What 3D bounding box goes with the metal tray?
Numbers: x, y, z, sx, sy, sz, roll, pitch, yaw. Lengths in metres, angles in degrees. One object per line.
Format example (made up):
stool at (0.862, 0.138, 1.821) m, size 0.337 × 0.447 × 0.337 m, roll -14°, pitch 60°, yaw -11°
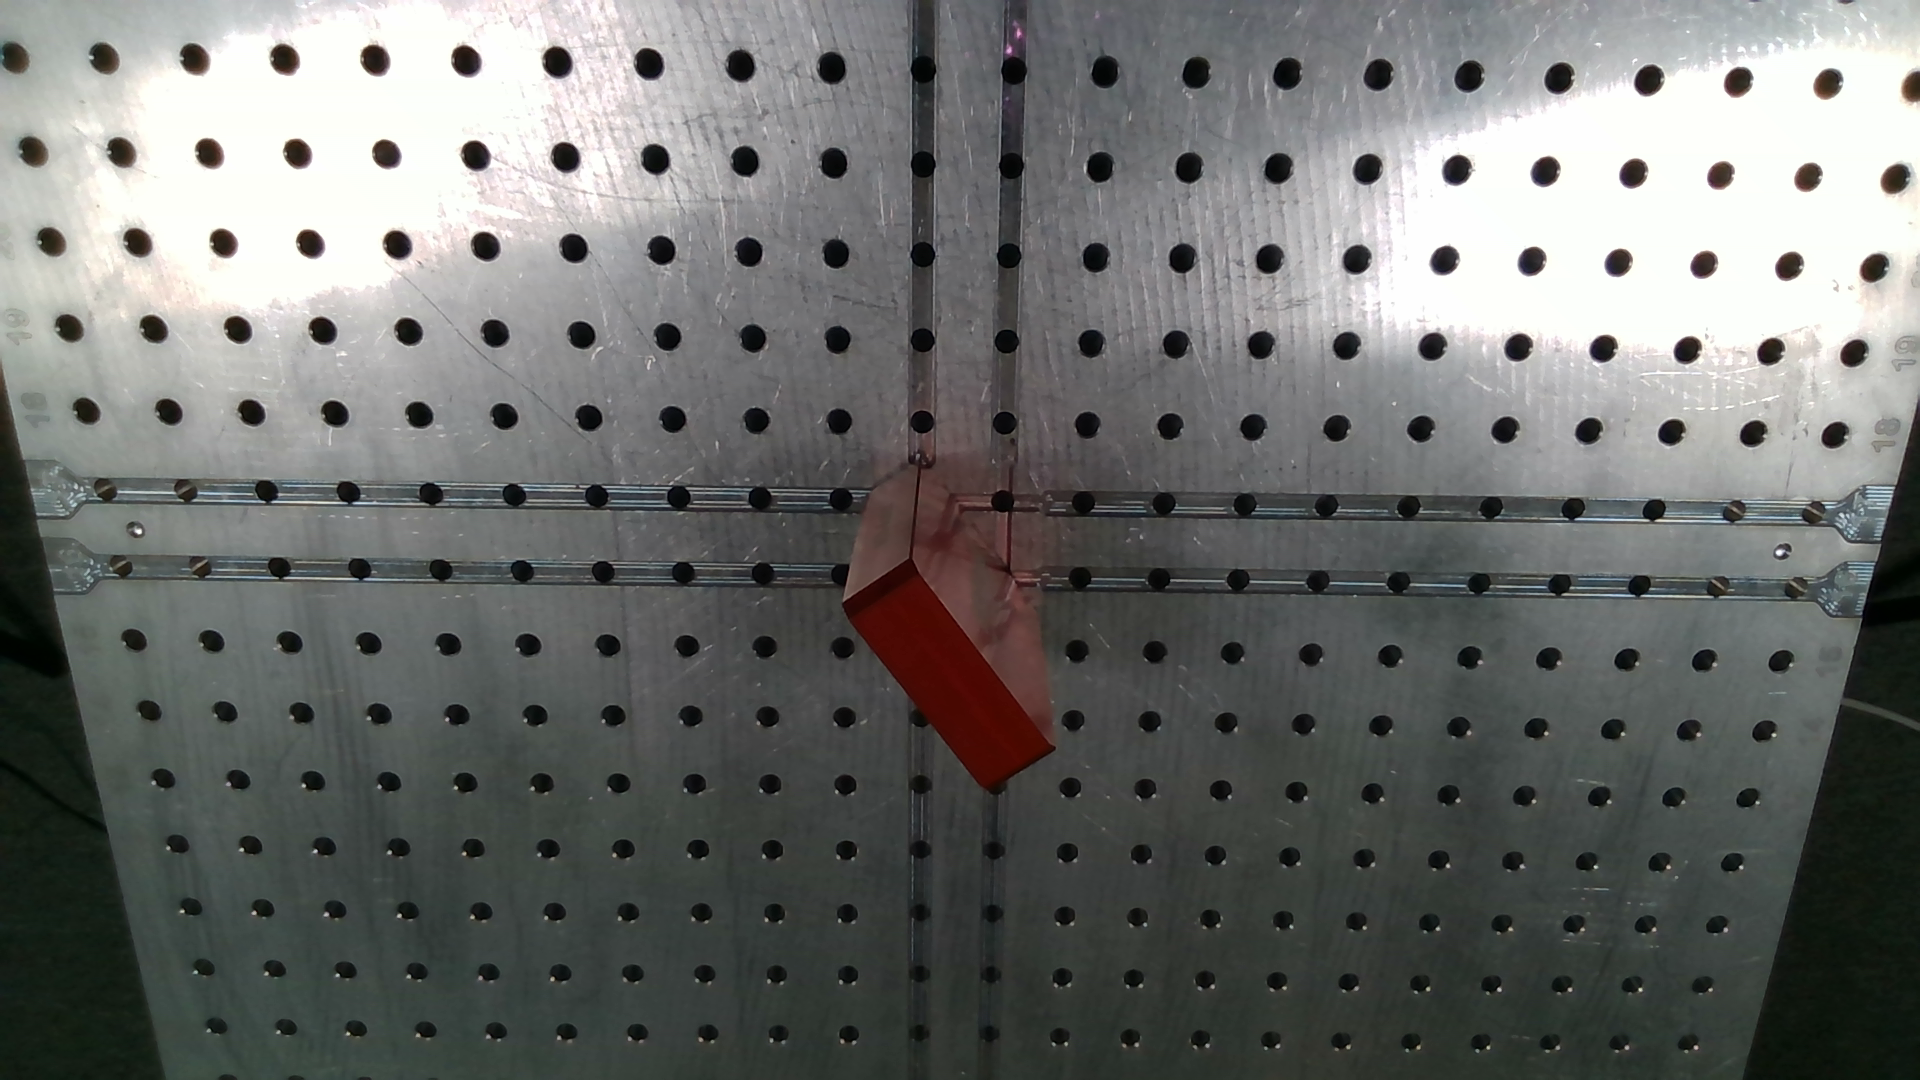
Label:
metal tray at (-0.003, 0.027, 0.541) m, size 0.030 × 0.130 × 0.090 m, roll -33°, pitch 107°, yaw 11°
